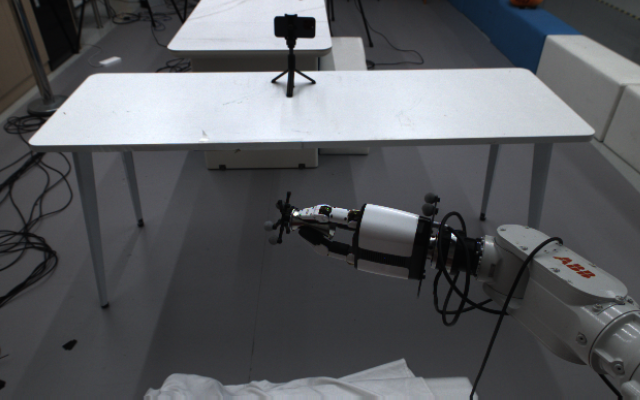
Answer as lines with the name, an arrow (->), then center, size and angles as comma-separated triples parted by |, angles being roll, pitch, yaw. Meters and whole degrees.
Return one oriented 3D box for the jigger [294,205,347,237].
jigger -> -0.005, 0.032, 0.785 | 0.071, 0.043, 0.043 | 10, 35, 16
